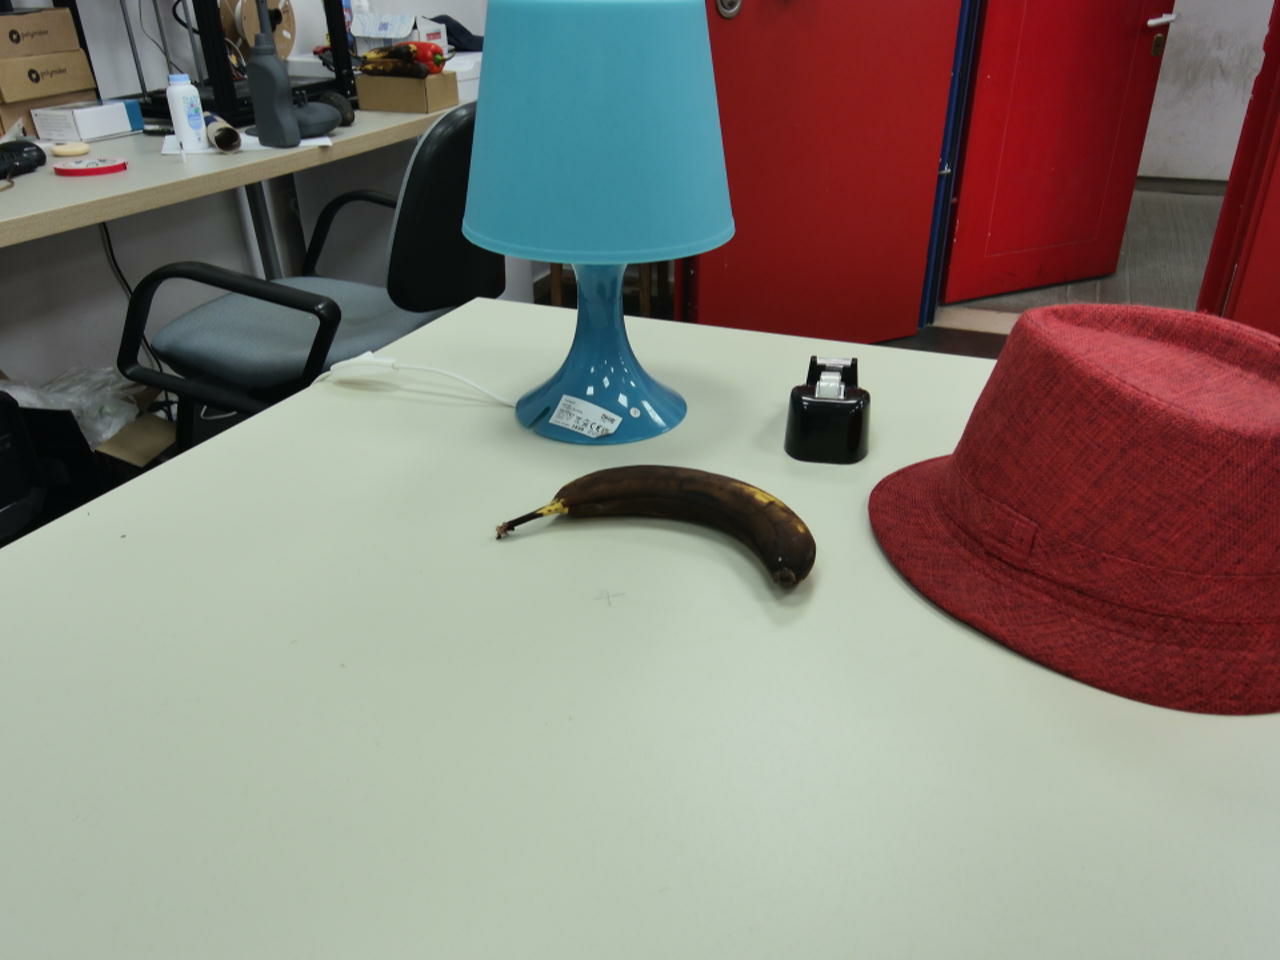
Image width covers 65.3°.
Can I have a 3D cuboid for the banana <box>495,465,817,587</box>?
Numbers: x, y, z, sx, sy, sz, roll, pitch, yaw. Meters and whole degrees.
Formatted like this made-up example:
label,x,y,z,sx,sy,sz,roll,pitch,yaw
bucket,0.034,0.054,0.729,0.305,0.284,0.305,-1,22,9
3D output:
label,x,y,z,sx,sy,sz,roll,pitch,yaw
banana,0.017,0.019,0.588,0.188,0.034,0.091,11,28,23
